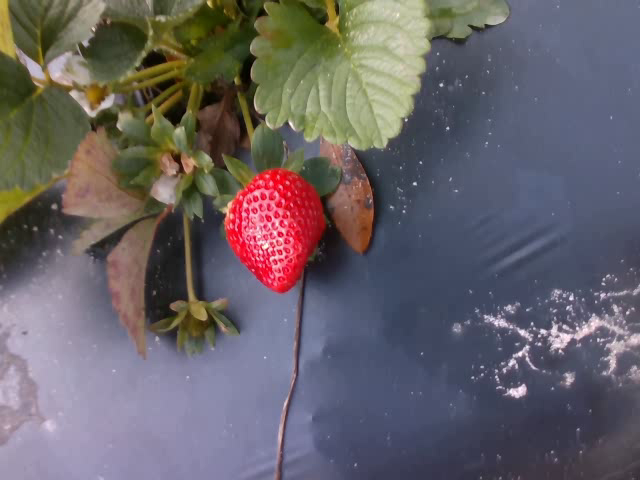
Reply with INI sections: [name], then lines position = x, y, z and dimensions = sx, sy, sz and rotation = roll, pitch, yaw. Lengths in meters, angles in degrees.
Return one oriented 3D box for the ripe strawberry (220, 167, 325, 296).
[ripe strawberry]
position = -0.018, 0.001, 0.224
dimensions = 0.050, 0.053, 0.049
rotation = -25, -48, 8
